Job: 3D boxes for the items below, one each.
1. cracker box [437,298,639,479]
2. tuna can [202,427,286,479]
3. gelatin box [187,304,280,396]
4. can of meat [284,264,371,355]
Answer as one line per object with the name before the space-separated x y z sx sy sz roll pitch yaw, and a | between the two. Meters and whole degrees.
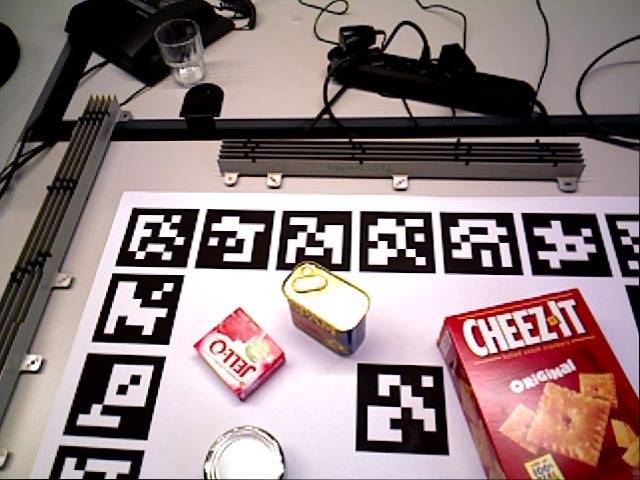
cracker box | 0.245 0.179 0.585 0.163 0.073 0.211 -12 53 -7
tuna can | -0.079 0.244 0.573 0.085 0.034 0.084 -3 58 3
gelatin box | -0.104 0.131 0.660 0.072 0.031 0.089 -38 64 -25
can of meat | 0.009 0.085 0.661 0.102 0.085 0.056 27 59 22
